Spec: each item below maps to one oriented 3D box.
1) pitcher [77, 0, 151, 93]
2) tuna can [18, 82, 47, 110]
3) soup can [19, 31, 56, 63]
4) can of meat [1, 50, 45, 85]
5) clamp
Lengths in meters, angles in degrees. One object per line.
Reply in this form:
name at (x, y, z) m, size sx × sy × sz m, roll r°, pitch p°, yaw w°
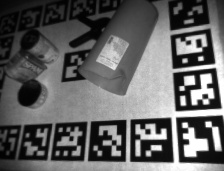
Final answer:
pitcher at (0.006, -0.113, 0.577) m, size 0.186 × 0.135 × 0.243 m, roll 8°, pitch 67°, yaw 46°
tuna can at (-0.252, 0.033, 0.686) m, size 0.085 × 0.034 × 0.085 m, roll -6°, pitch 72°, yaw 19°
soup can at (-0.238, -0.122, 0.696) m, size 0.067 × 0.103 × 0.068 m, roll -7°, pitch 72°, yaw 22°
can of meat at (-0.283, -0.053, 0.685) m, size 0.083 × 0.103 × 0.057 m, roll -43°, pitch 63°, yaw 7°
clamp at (-0.077, -0.184, 0.703) m, size 0.164 × 0.037 × 0.121 m, roll -4°, pitch 67°, yaw 16°
